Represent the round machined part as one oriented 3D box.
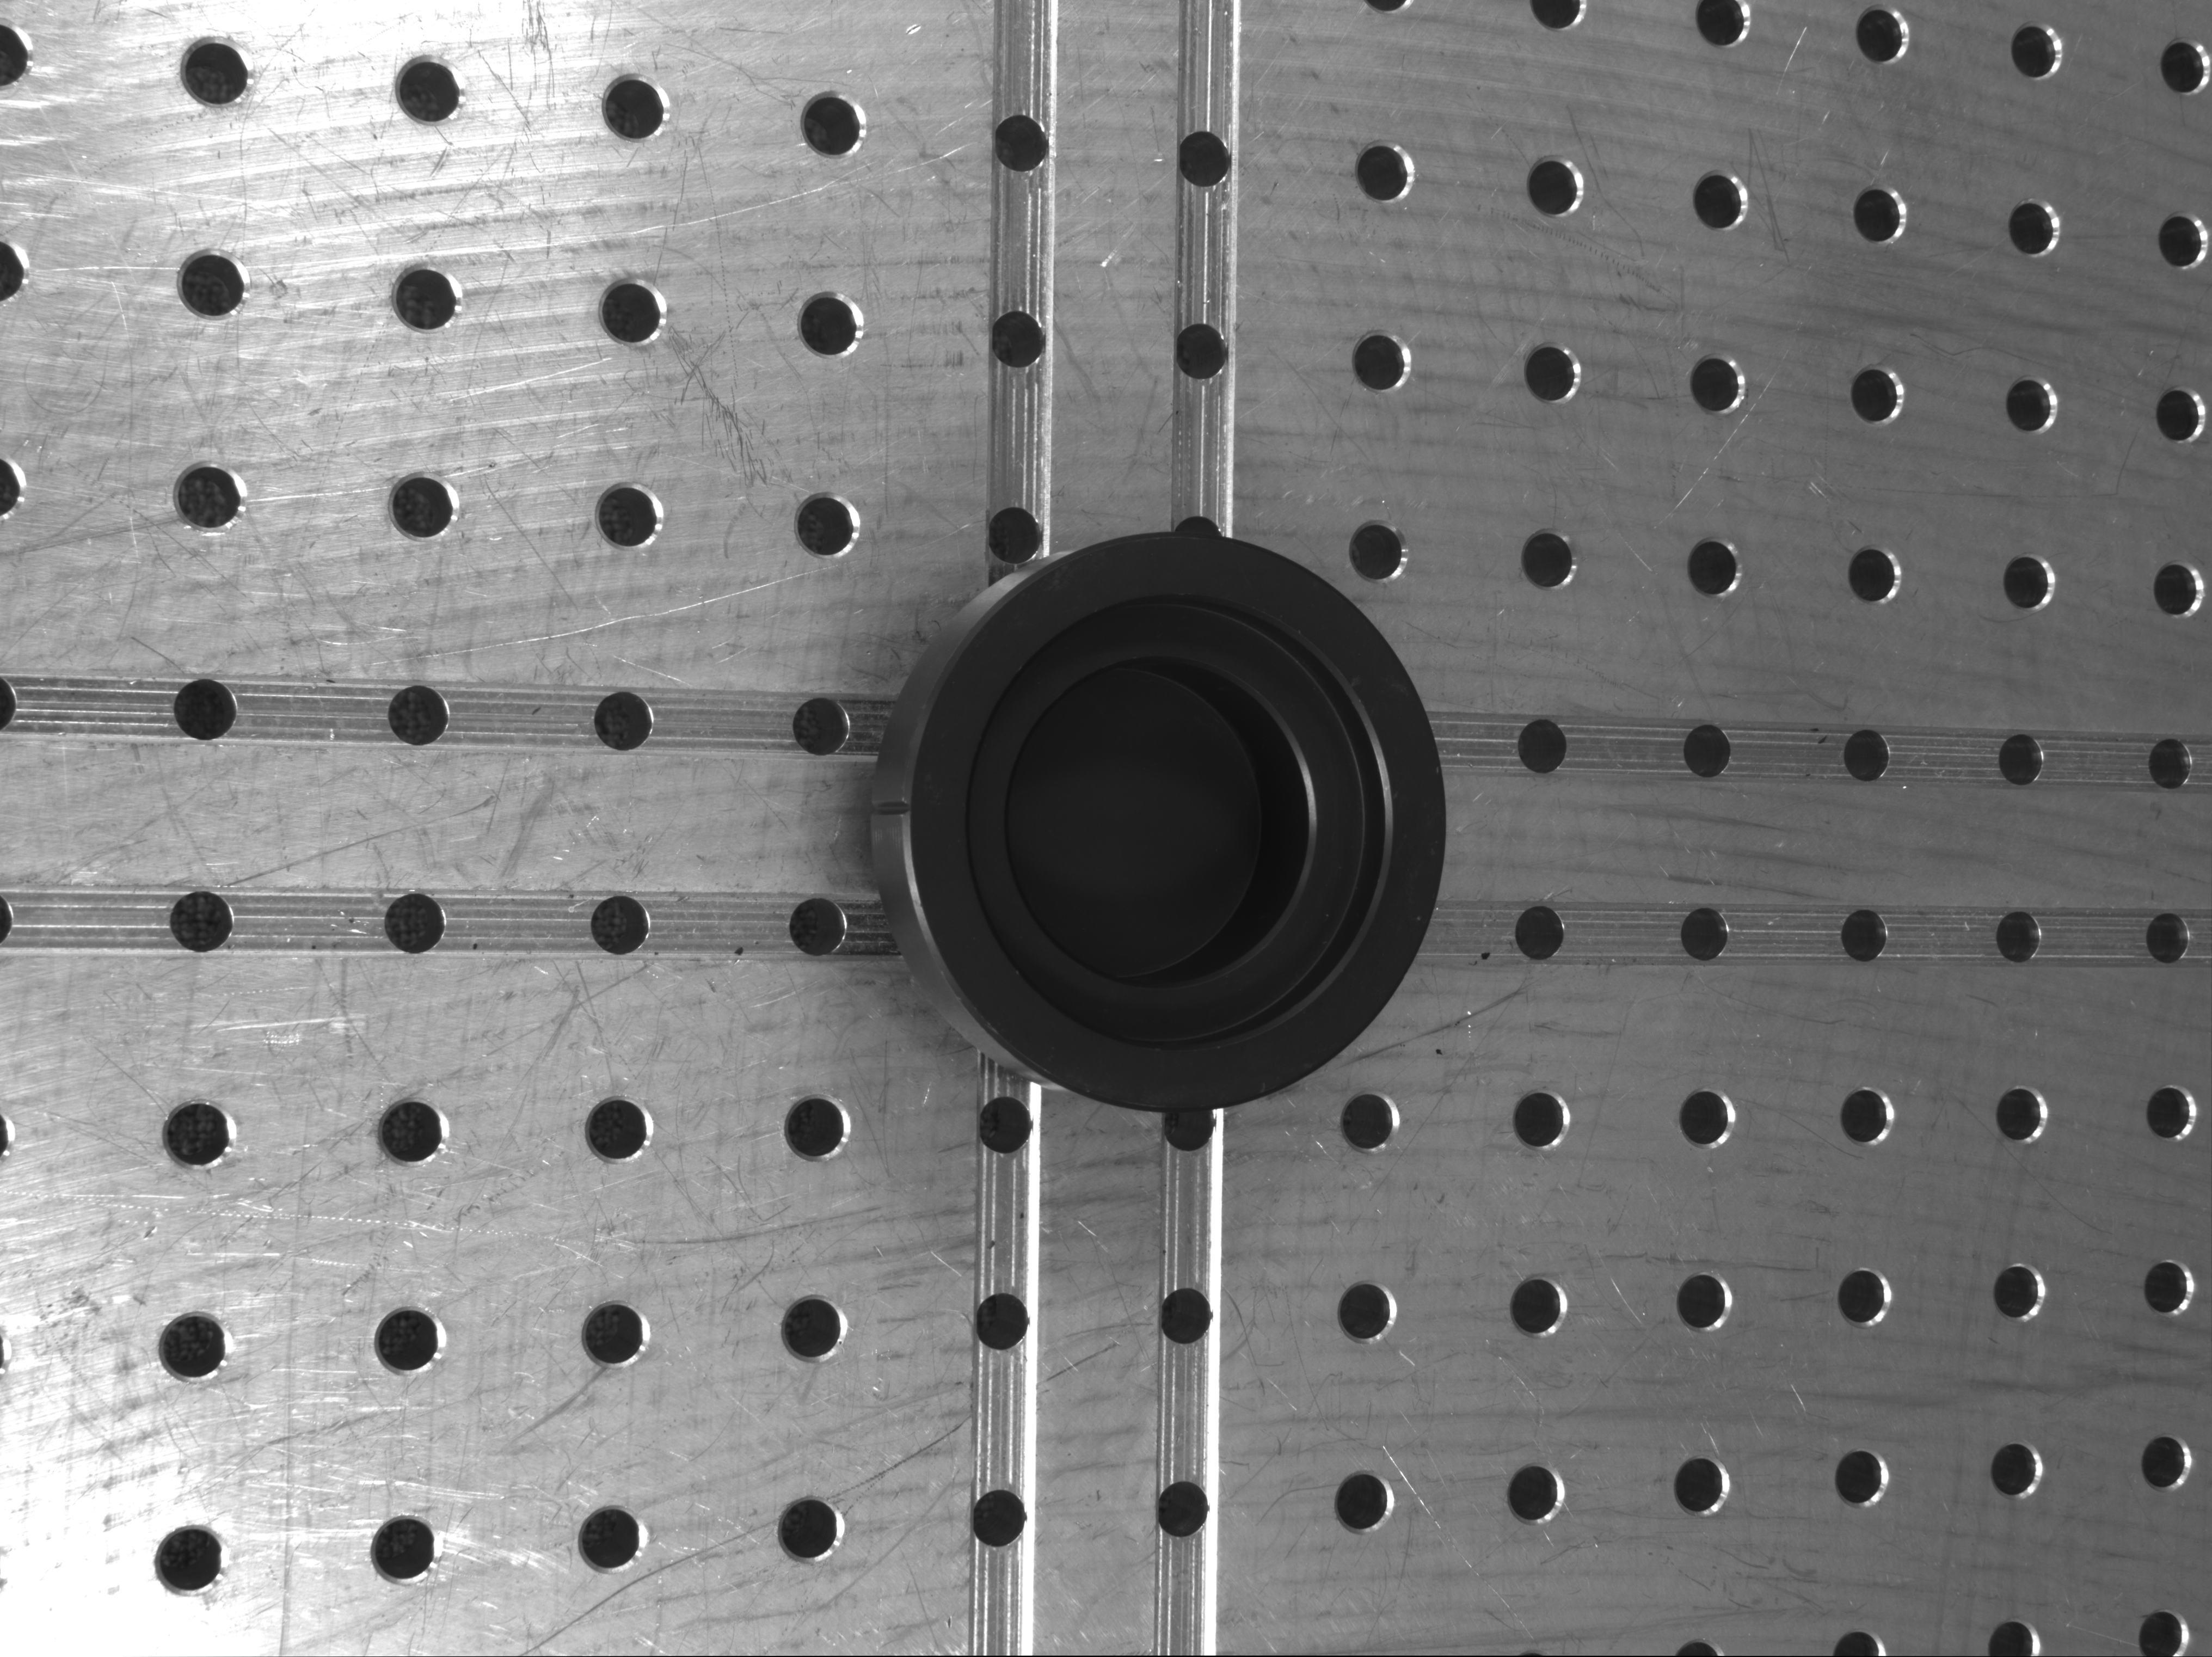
[{"bbox_3d":[0.006,-0.001,0.638,0.098,0.042,0.098,0,90,-20],"label":"round machined part"}]
